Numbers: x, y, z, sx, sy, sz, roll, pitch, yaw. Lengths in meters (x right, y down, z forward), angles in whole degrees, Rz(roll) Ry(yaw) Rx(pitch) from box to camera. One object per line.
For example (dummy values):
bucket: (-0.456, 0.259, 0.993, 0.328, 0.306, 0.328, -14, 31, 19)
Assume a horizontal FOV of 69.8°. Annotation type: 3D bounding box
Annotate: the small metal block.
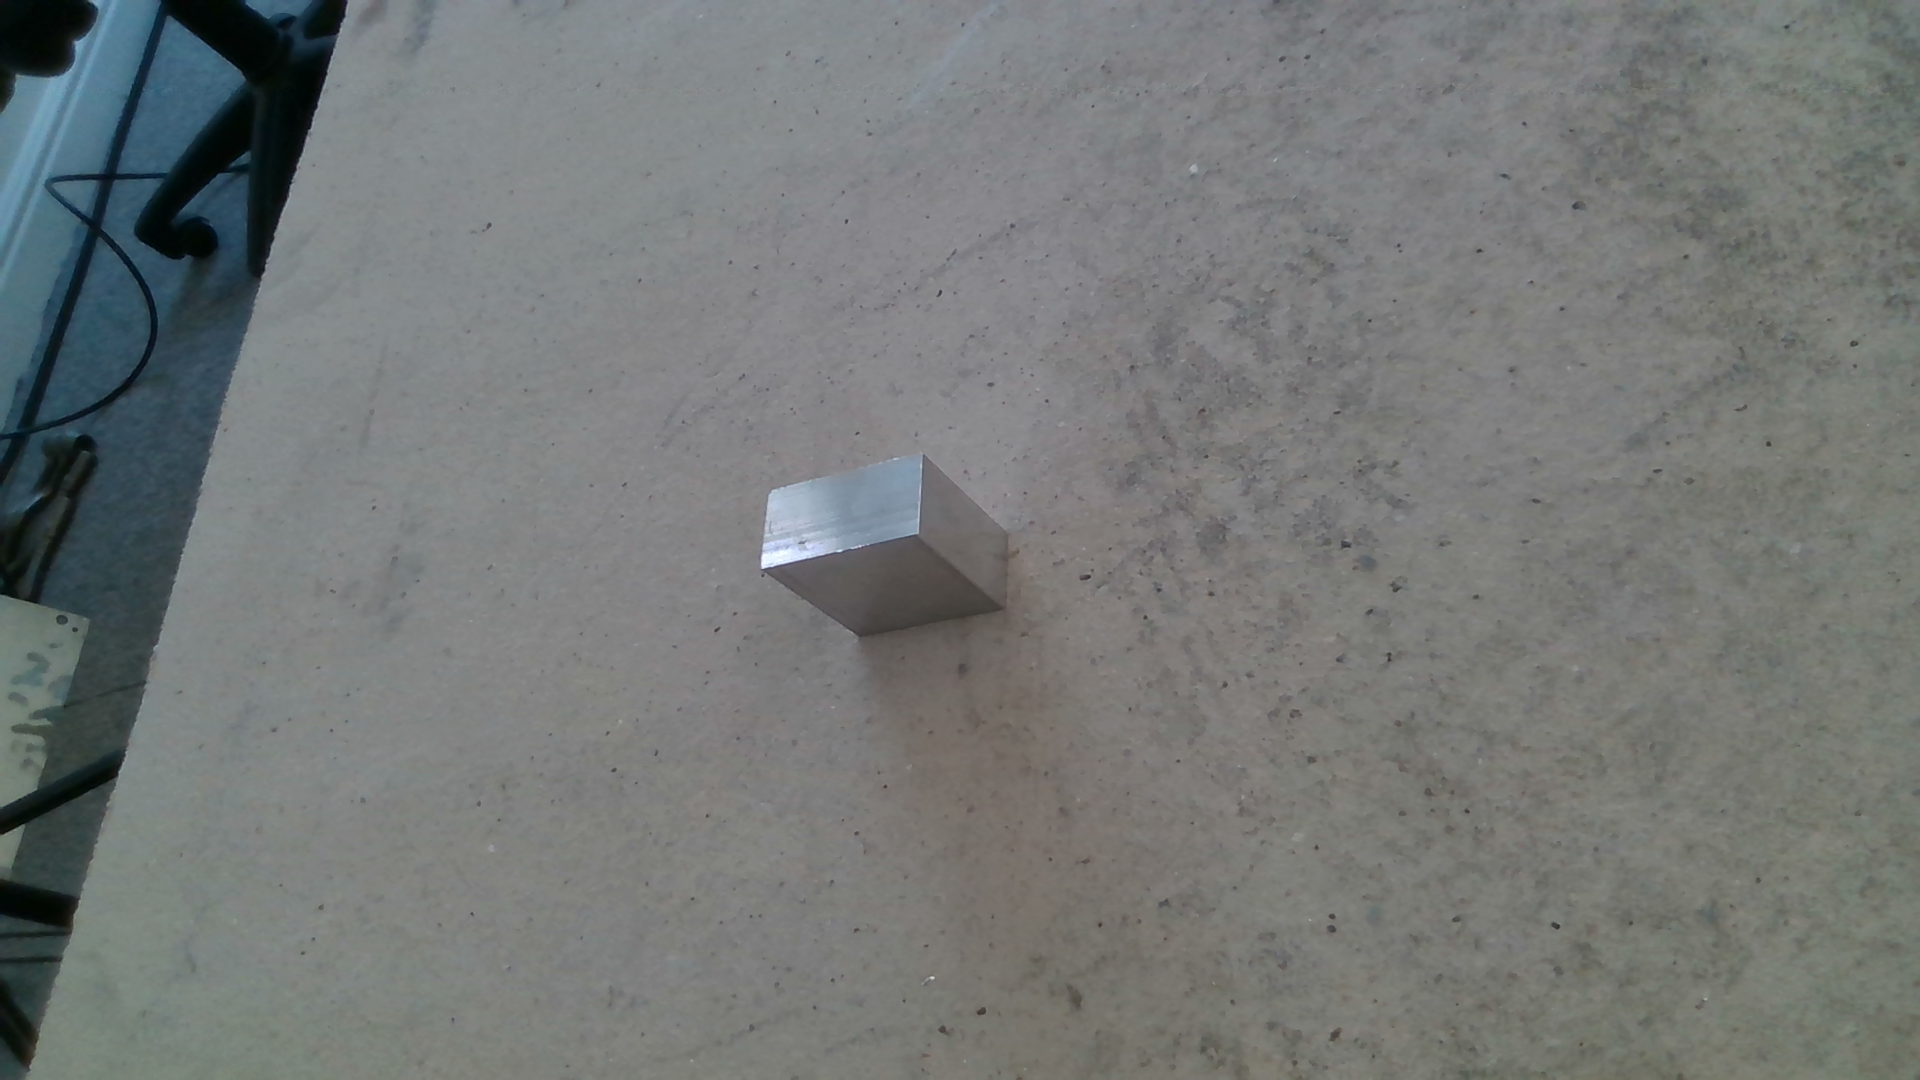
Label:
small metal block: (-0.021, 0.002, 0.388, 0.050, 0.050, 0.025, -13, 60, 26)
